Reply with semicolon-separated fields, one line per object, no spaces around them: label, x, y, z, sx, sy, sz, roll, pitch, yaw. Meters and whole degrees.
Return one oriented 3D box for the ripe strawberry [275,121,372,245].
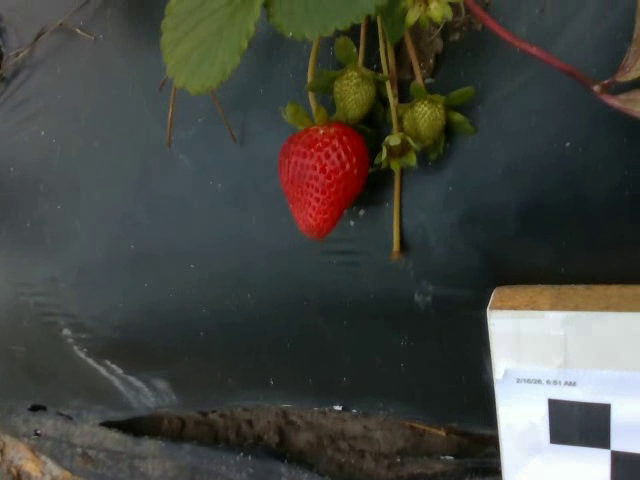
ripe strawberry;-0.001;-0.007;0.073;0.018;0.017;0.014;-1;-19;14
